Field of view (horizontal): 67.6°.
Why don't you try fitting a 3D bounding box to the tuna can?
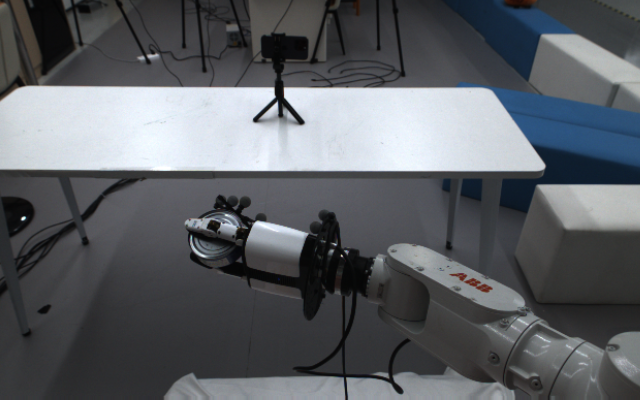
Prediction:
[{"bbox_3d":[-0.154,0.057,0.737,0.085,0.034,0.085,-4,56,6],"label":"tuna can"}]
